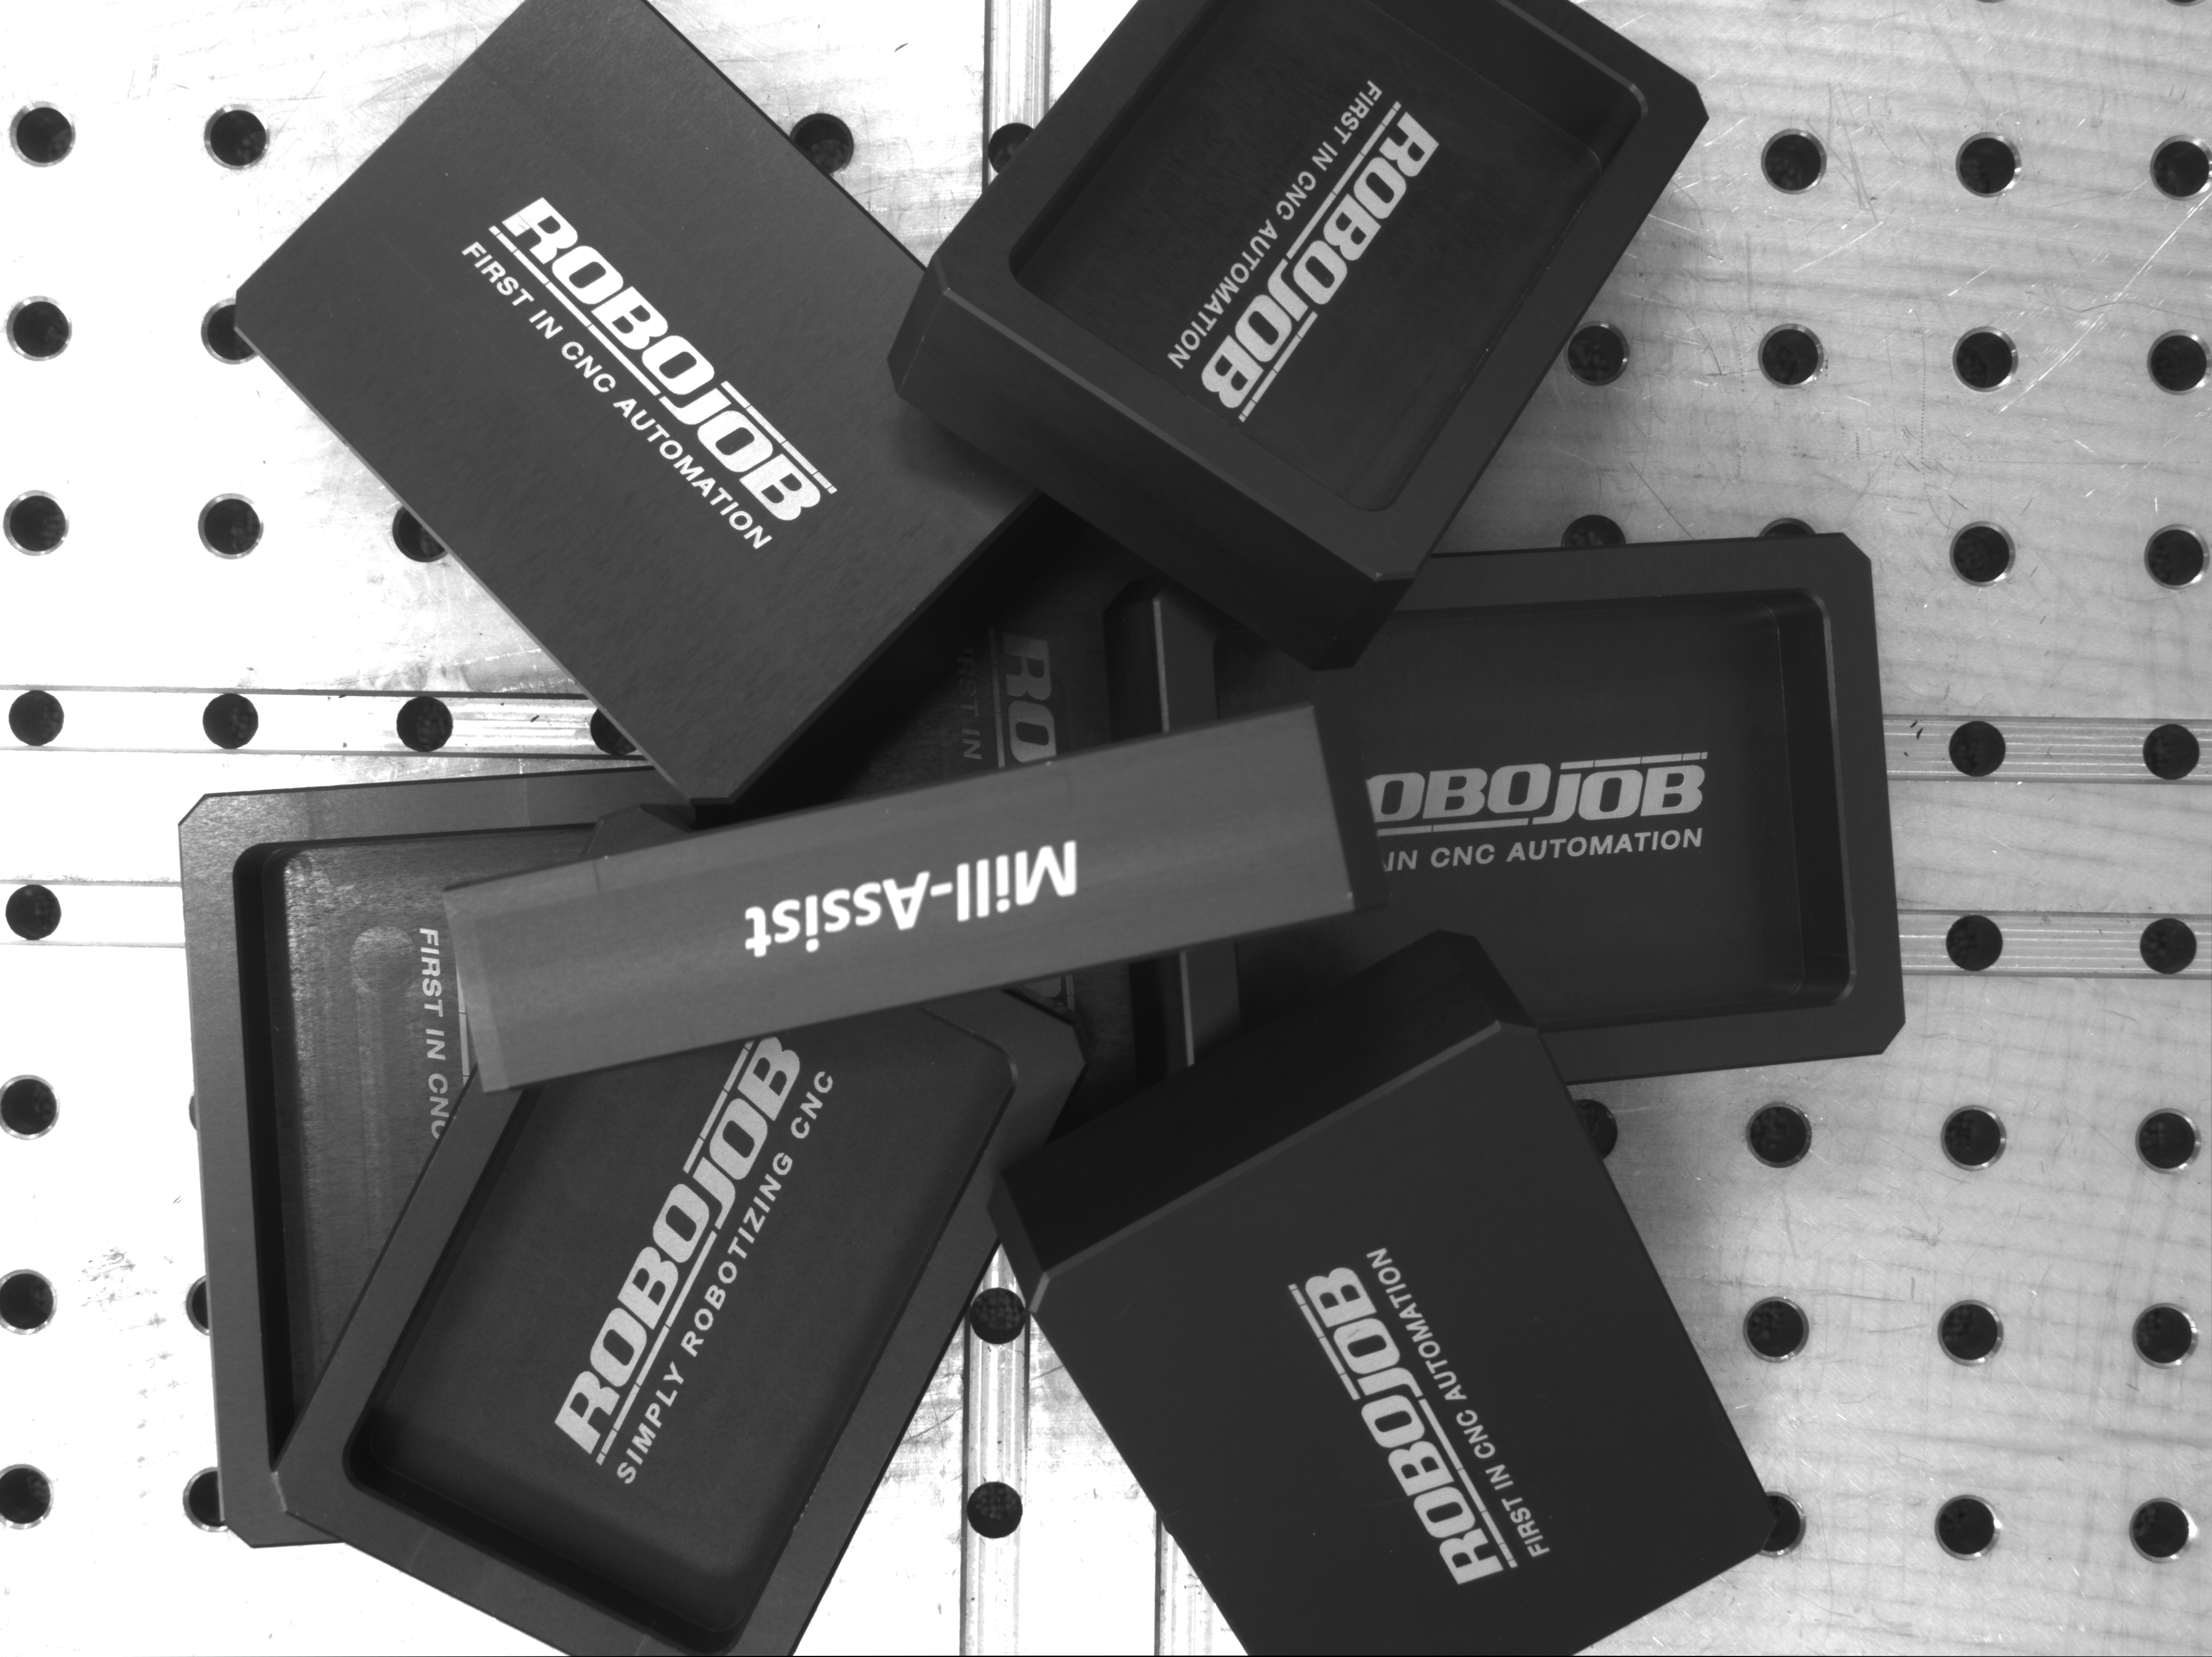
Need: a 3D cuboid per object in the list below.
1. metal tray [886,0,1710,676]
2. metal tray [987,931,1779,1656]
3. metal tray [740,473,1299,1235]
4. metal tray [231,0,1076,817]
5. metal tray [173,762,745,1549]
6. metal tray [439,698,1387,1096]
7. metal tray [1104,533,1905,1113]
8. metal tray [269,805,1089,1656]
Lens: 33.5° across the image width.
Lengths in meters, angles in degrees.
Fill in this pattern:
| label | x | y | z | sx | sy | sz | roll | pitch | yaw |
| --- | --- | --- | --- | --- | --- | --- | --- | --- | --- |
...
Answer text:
| label | x | y | z | sx | sy | sz | roll | pitch | yaw |
| --- | --- | --- | --- | --- | --- | --- | --- | --- | --- |
| metal tray | 0.034 | -0.098 | 0.612 | 0.090 | 0.030 | 0.130 | 34 | 57 | 1 |
| metal tray | 0.048 | 0.090 | 0.612 | 0.090 | 0.030 | 0.130 | -29 | 123 | 0 |
| metal tray | -0.016 | 0.003 | 0.645 | 0.090 | 0.030 | 0.130 | -4 | 88 | -2 |
| metal tray | -0.075 | -0.075 | 0.629 | 0.090 | 0.030 | 0.130 | -45 | 74 | 0 |
| metal tray | -0.111 | 0.056 | 0.646 | 0.090 | 0.030 | 0.130 | -4 | 89 | -1 |
| metal tray | -0.024 | 0.009 | 0.551 | 0.130 | 0.090 | 0.030 | -12 | 90 | 4 |
| metal tray | 0.069 | -0.001 | 0.628 | 0.130 | 0.030 | 0.090 | -4 | 90 | -17 |
| metal tray | -0.070 | 0.072 | 0.615 | 0.090 | 0.030 | 0.130 | 27 | 90 | 0 |
